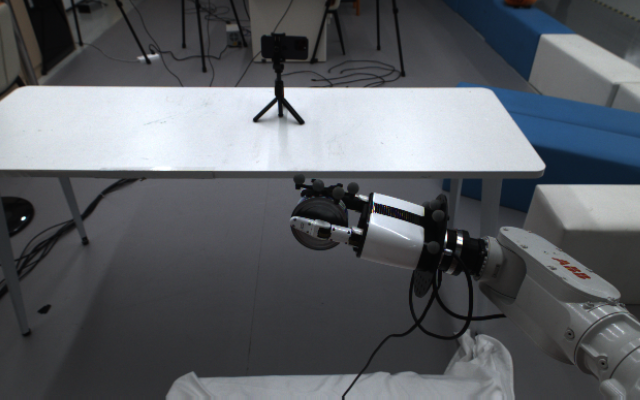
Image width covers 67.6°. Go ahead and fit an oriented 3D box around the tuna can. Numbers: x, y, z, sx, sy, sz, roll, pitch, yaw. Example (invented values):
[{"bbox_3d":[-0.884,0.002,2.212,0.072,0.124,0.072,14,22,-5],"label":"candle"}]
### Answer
[{"bbox_3d":[0.001,0.030,0.724,0.085,0.085,0.034,5,18,4],"label":"tuna can"}]
